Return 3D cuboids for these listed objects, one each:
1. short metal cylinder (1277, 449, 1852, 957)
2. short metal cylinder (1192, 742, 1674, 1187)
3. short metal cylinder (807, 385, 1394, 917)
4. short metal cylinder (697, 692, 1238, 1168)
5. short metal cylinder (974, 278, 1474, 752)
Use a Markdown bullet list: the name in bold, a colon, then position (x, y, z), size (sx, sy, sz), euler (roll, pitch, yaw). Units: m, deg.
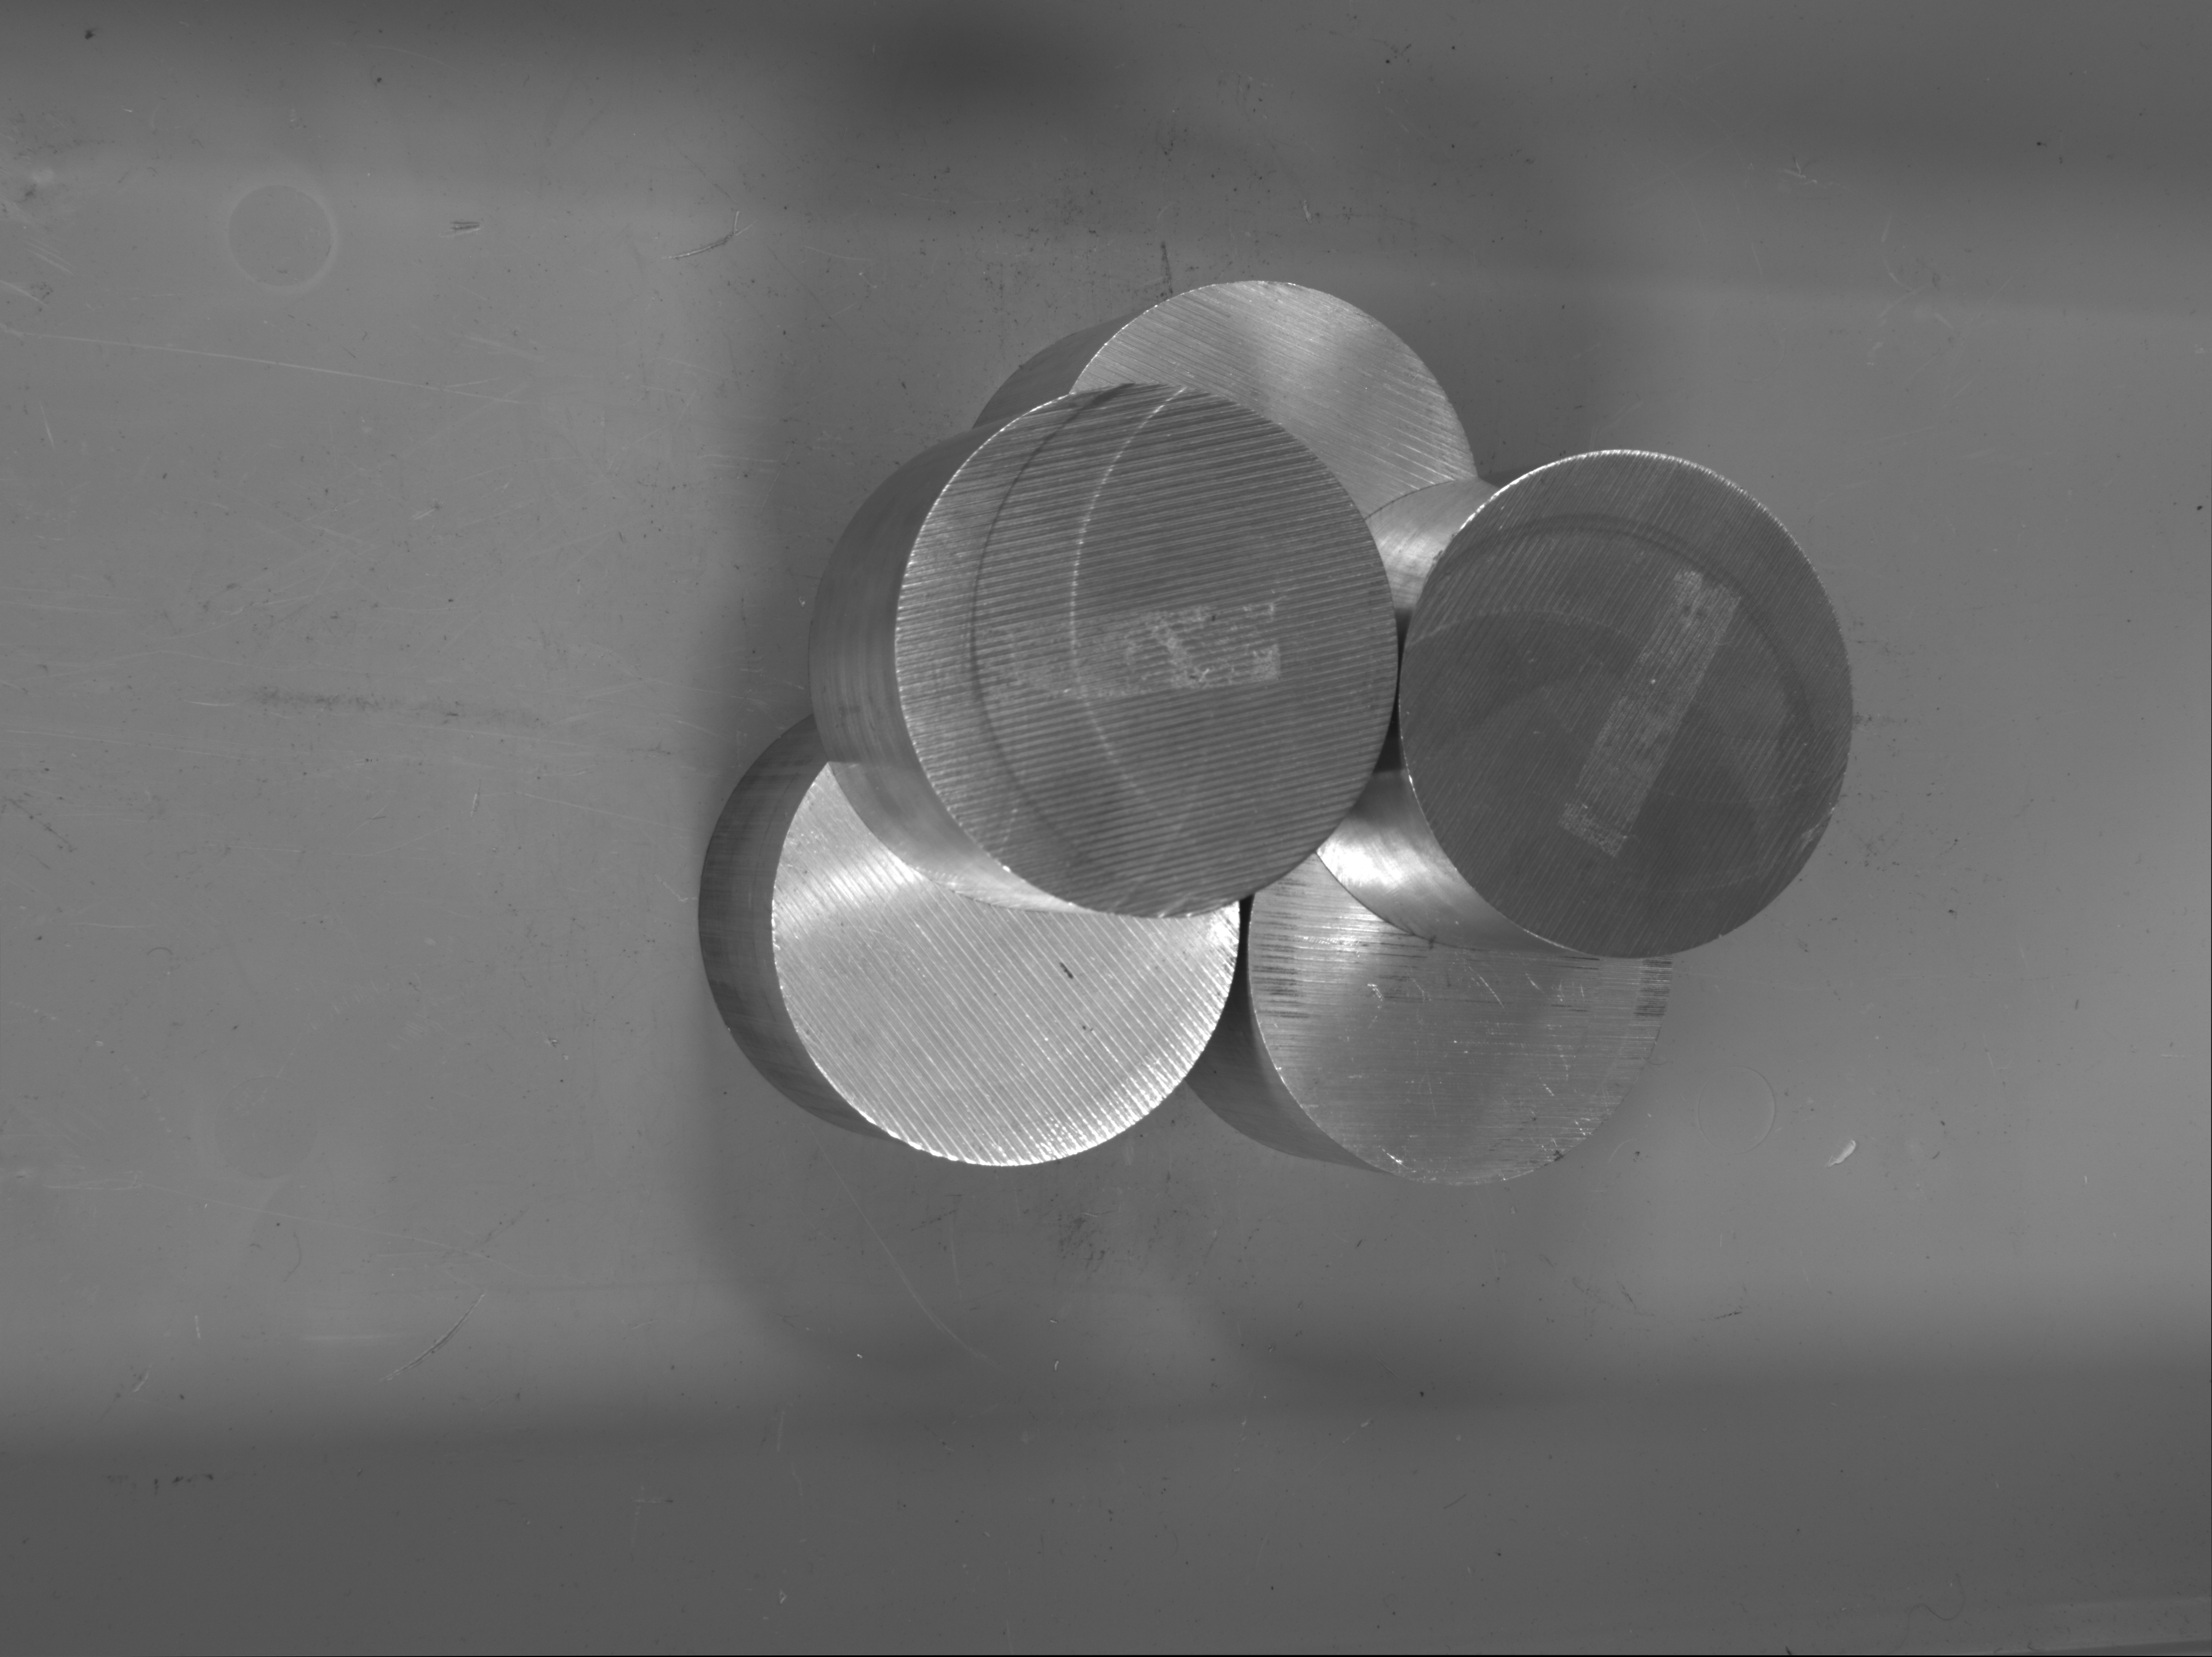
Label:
- **short metal cylinder**: position (0.074, -0.020, 0.601), size (0.080, 0.050, 0.080), euler (0, 90, -20)
- **short metal cylinder**: position (0.053, 0.021, 0.647), size (0.080, 0.050, 0.080), euler (0, 90, -20)
- **short metal cylinder**: position (-0.002, -0.027, 0.575), size (0.080, 0.050, 0.080), euler (0, 90, -20)
- **short metal cylinder**: position (-0.024, 0.015, 0.619), size (0.080, 0.050, 0.080), euler (0, 90, -20)
- **short metal cylinder**: position (0.018, -0.052, 0.635), size (0.080, 0.050, 0.080), euler (0, 90, -20)
